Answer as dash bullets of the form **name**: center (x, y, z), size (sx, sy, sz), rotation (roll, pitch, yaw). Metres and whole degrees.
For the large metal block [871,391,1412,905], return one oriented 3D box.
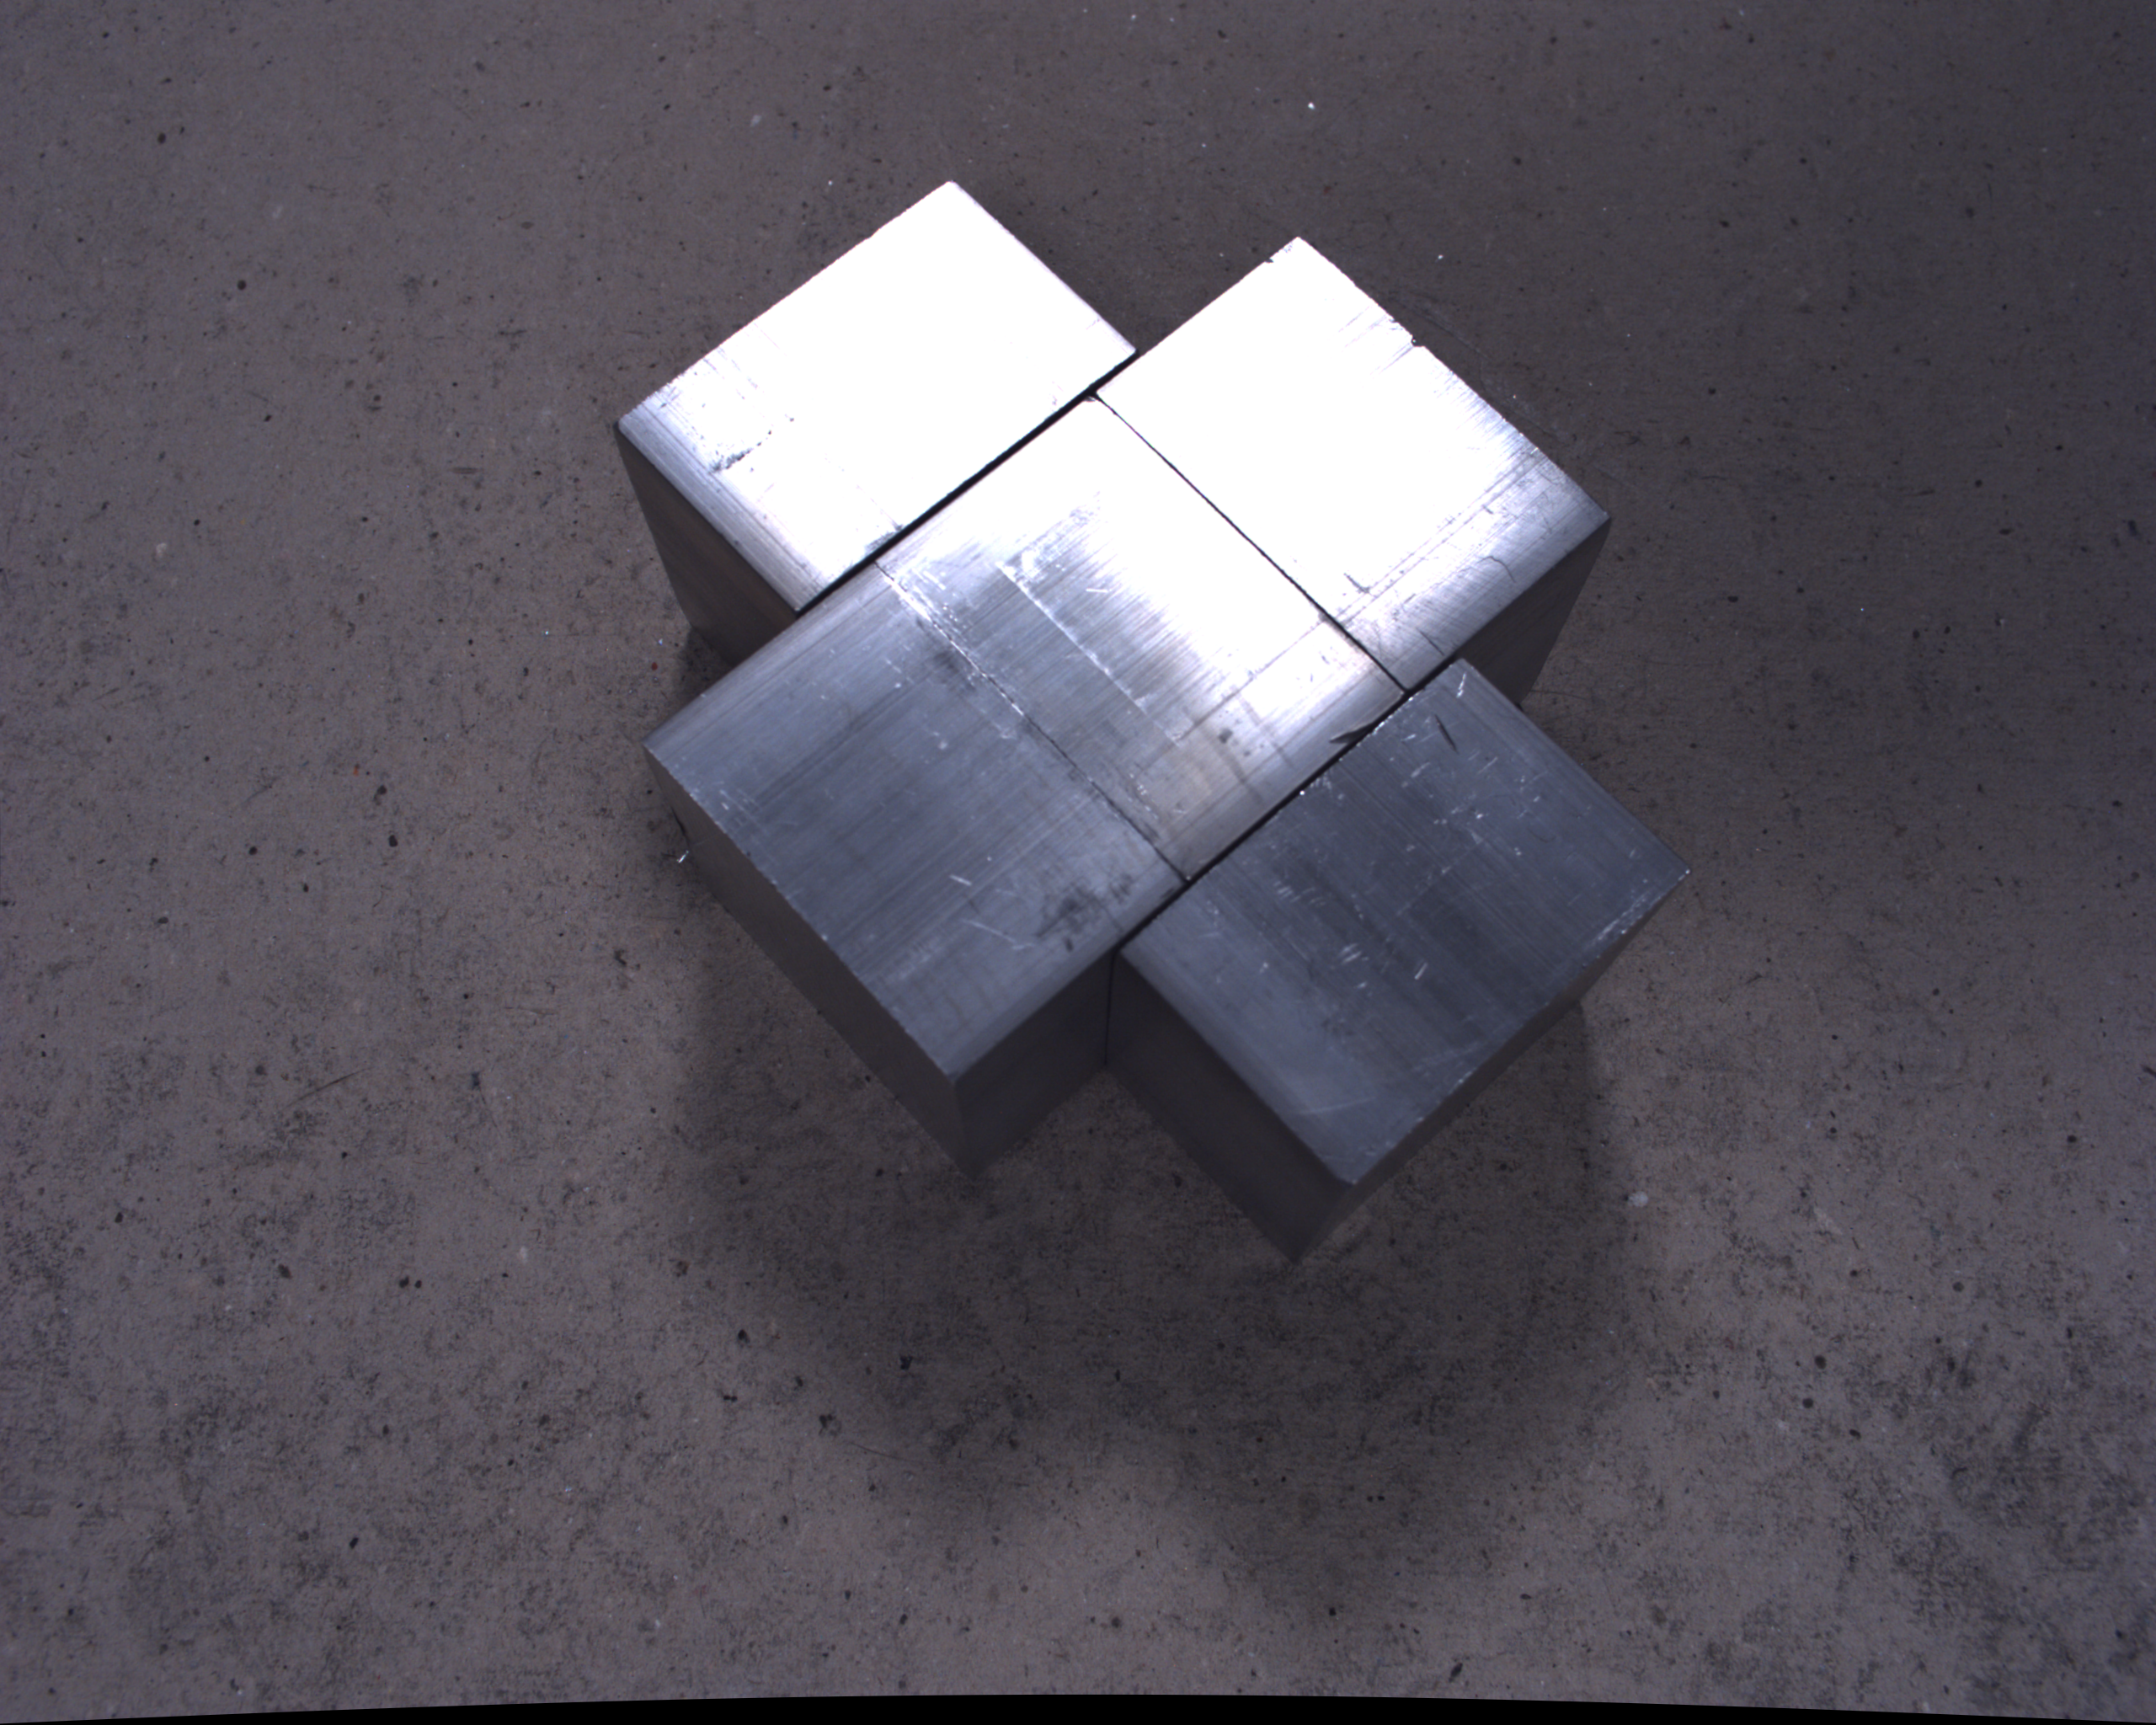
- **large metal block**: center (0.010, -0.027, 0.390), size (0.050, 0.080, 0.080), rotation (-41, 75, -13)

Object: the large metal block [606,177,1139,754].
- **large metal block**: center (-0.036, -0.070, 0.406), size (0.080, 0.080, 0.050), rotation (-40, 75, -13)

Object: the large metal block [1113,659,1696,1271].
- **large metal block**: center (0.054, 0.022, 0.373), size (0.080, 0.080, 0.050), rotation (-40, 75, -13)

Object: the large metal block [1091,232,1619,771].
- **large metal block**: center (0.048, -0.058, 0.403), size (0.050, 0.080, 0.080), rotation (-41, 75, -13)

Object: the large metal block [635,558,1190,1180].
- **large metal block**: center (-0.028, 0.005, 0.379), size (0.050, 0.080, 0.080), rotation (-41, 75, -13)
